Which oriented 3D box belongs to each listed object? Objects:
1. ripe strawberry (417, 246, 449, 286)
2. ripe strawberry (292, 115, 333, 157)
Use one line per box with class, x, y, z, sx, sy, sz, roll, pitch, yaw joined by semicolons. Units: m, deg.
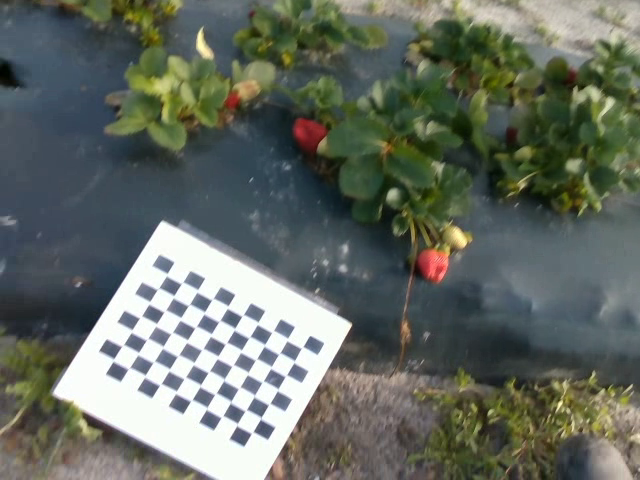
ripe strawberry;0.166;0.034;1.102;0.047;0.050;0.035;9;-19;-7
ripe strawberry;-0.019;-0.171;1.217;0.071;0.058;0.057;46;-17;-23
